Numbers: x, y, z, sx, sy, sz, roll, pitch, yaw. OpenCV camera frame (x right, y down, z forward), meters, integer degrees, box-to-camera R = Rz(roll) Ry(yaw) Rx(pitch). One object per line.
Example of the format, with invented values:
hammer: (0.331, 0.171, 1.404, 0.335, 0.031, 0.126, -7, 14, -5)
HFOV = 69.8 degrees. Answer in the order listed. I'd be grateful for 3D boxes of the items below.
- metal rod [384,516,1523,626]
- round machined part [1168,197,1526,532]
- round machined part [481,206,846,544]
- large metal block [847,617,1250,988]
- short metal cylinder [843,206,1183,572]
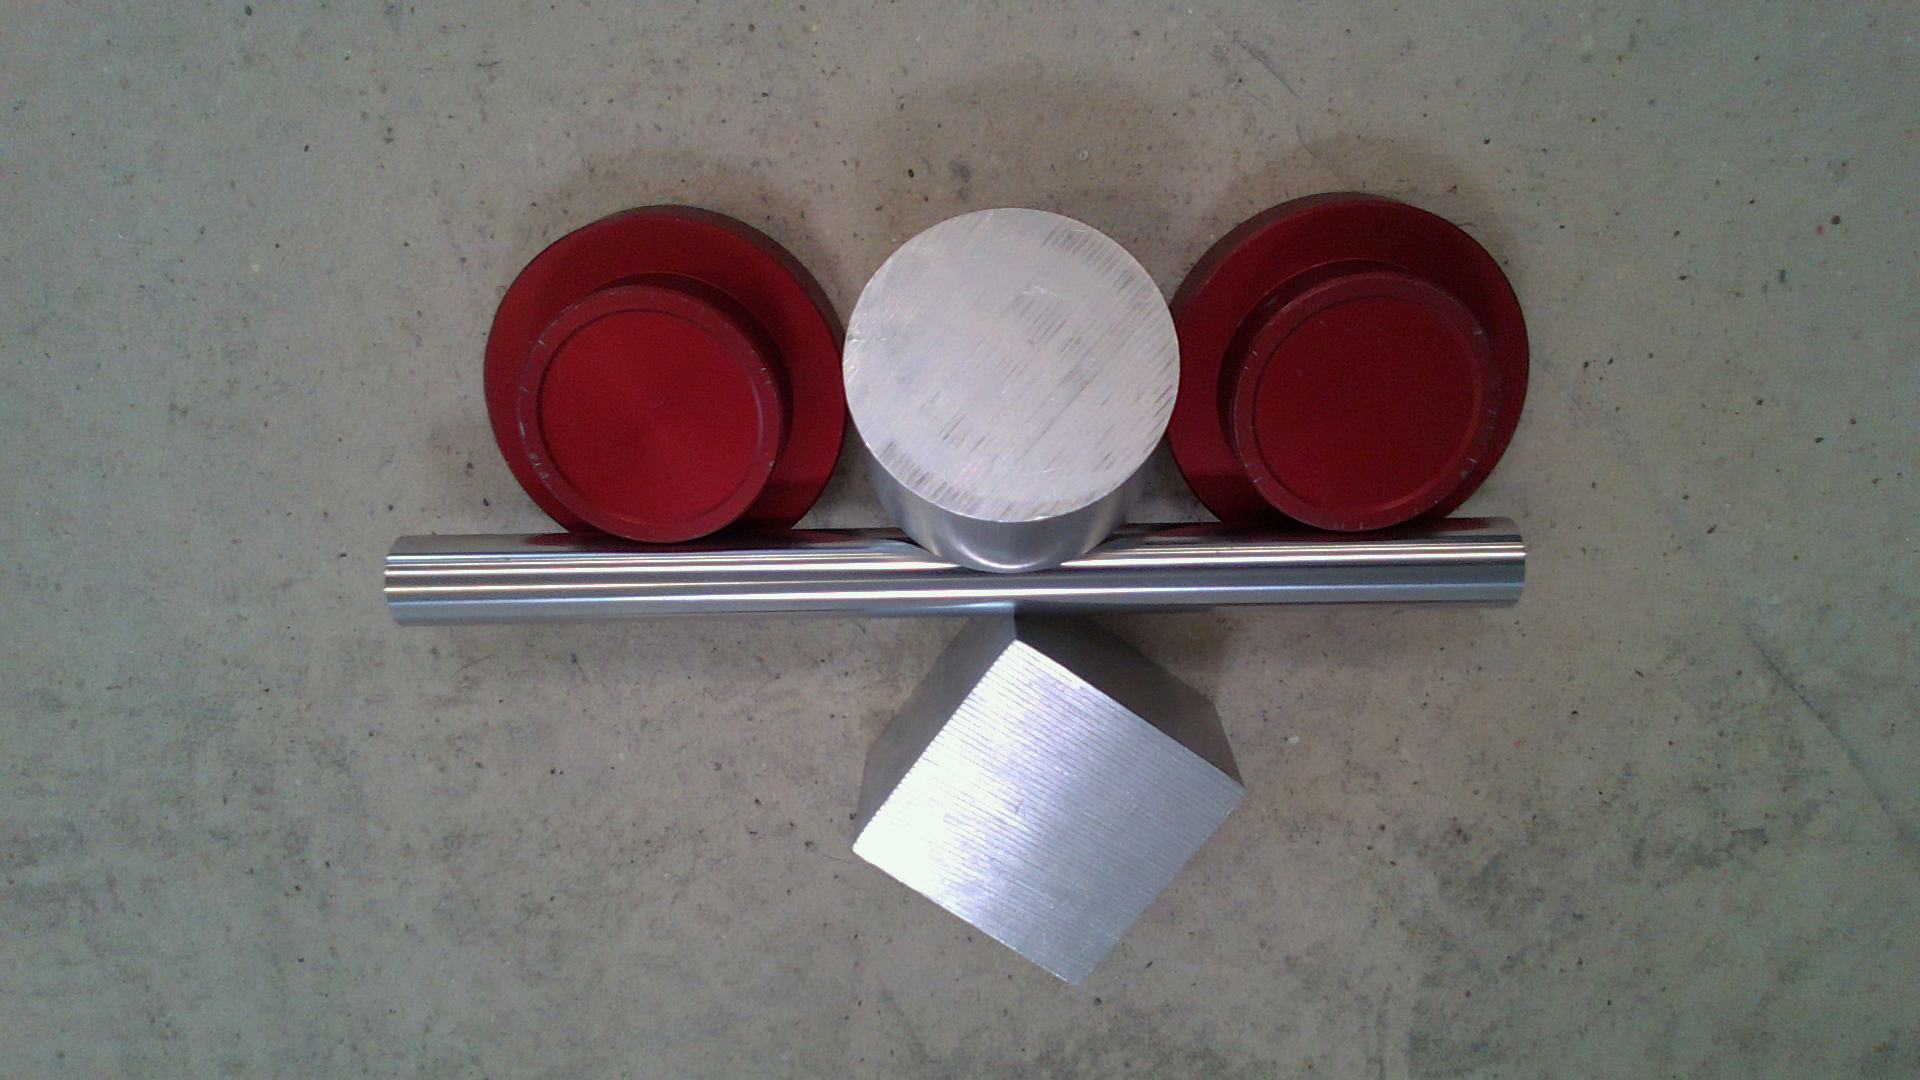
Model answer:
metal rod: (-0.002, 0.008, 0.375, 0.300, 0.025, 0.025, -1, 110, 0)
round machined part: (0.104, -0.041, 0.371, 0.098, 0.042, 0.098, 0, 110, 0)
round machined part: (-0.080, -0.038, 0.370, 0.098, 0.042, 0.098, 0, 110, 0)
large metal block: (0.024, 0.070, 0.404, 0.080, 0.050, 0.080, 33, 107, -12)
short metal cylinder: (0.013, -0.036, 0.348, 0.080, 0.050, 0.080, 0, 75, 0)
